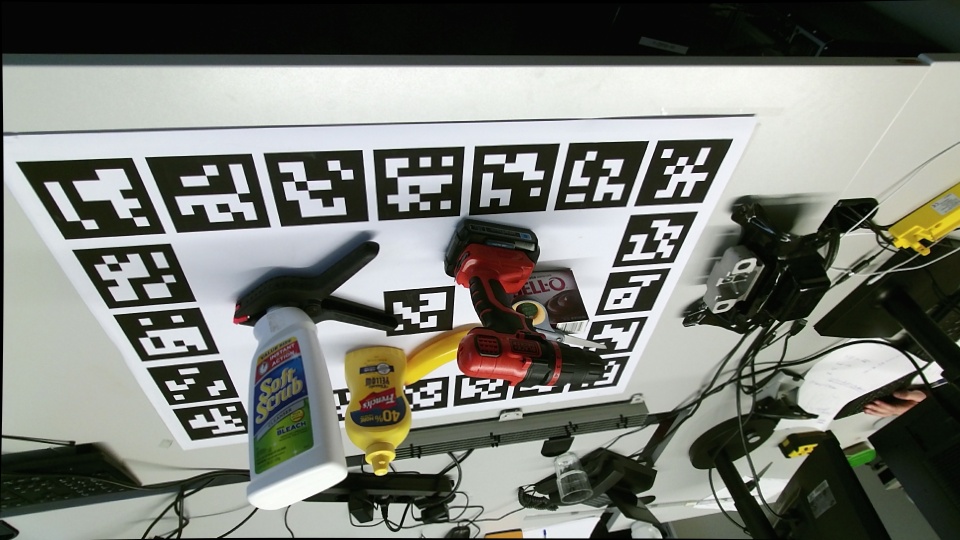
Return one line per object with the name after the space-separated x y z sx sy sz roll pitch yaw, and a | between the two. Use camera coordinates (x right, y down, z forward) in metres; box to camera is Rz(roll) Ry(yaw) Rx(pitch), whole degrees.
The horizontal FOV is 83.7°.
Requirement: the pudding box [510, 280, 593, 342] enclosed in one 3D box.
0.094 0.059 0.770 0.114 0.089 0.039 -2 141 -13 | pudding box

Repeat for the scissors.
0.114 0.108 0.732 0.204 0.016 0.088 18 123 -24 | scissors

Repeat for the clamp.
-0.217 0.063 0.707 0.203 0.036 0.165 -9 133 -5 | clamp

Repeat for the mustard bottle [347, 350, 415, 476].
-0.145 0.209 0.788 0.096 0.190 0.058 6 132 -20 | mustard bottle

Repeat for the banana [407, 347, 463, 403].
-0.053 0.166 0.864 0.198 0.038 0.074 -33 150 17 | banana

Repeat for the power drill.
0.057 0.056 0.648 0.185 0.186 0.057 3 139 -22 | power drill

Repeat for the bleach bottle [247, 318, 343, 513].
-0.233 0.149 0.639 0.103 0.249 0.068 -23 140 -3 | bleach bottle
